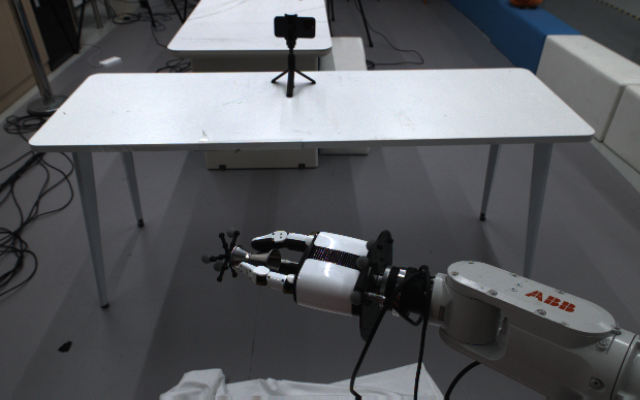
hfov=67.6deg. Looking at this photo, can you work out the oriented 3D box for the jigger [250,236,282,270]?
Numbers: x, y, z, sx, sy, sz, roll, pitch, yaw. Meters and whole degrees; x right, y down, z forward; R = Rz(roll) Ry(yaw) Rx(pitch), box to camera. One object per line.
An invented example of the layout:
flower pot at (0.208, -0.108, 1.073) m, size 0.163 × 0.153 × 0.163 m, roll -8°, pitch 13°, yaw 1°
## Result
jigger at (-0.093, 0.086, 0.757) m, size 0.071 × 0.043 × 0.043 m, roll 4°, pitch 33°, yaw 25°
